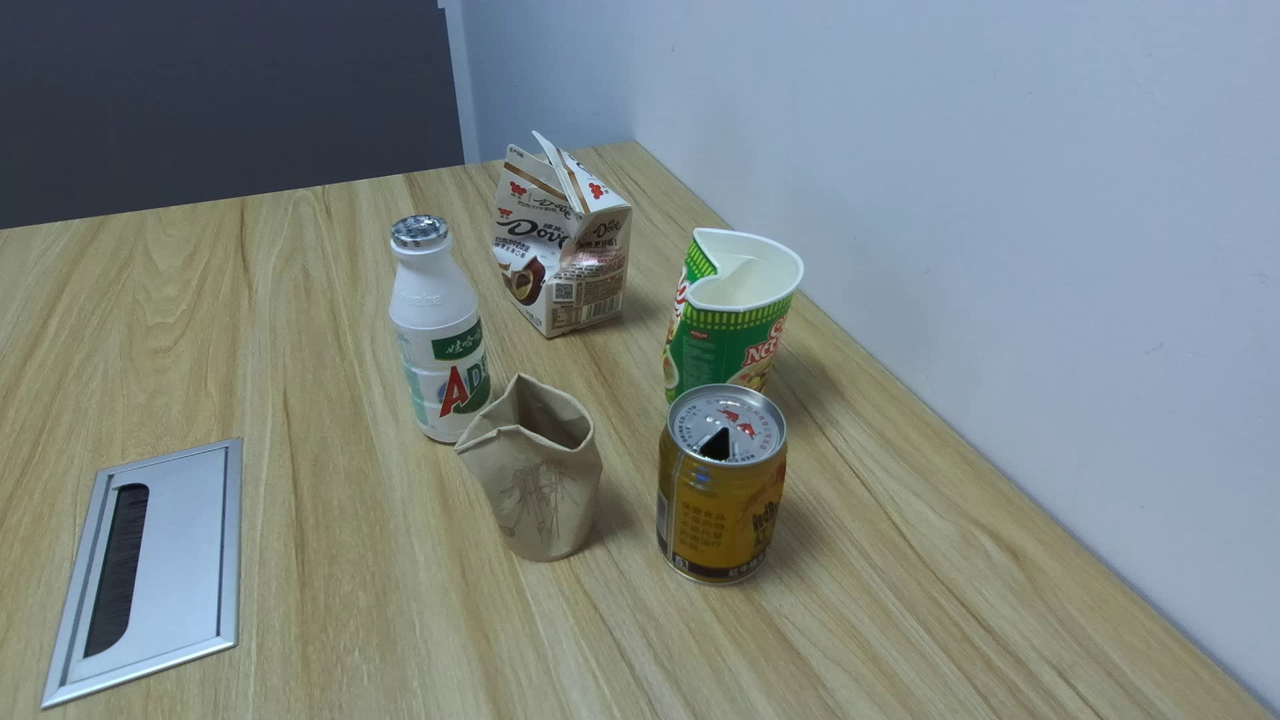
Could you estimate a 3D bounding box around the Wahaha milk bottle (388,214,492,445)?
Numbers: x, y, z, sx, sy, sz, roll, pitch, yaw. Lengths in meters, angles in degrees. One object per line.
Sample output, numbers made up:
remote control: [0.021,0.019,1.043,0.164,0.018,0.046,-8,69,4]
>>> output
Wahaha milk bottle: [-0.124,-0.016,0.439,0.053,0.147,0.053,1,38,0]

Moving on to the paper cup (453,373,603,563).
paper cup: [-0.058,0.065,0.388,0.066,0.083,0.058,24,47,31]

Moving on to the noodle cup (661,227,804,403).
noodle cup: [0.055,-0.014,0.464,0.086,0.109,0.094,18,42,21]

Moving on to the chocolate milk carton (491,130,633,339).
chocolate milk carton: [-0.060,-0.093,0.541,0.077,0.155,0.089,-26,58,-25]

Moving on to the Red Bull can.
Red Bull can: [0.043,0.066,0.379,0.068,0.093,0.068,0,38,0]
